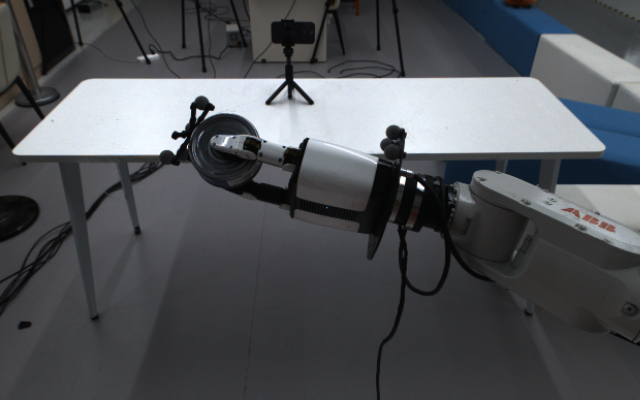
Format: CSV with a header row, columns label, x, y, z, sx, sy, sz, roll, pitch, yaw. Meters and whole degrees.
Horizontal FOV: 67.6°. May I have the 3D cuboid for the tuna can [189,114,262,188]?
label,x,y,z,sx,sy,sz,roll,pitch,yaw
tuna can,-0.110,-0.061,0.578,0.085,0.034,0.085,0,75,-2
